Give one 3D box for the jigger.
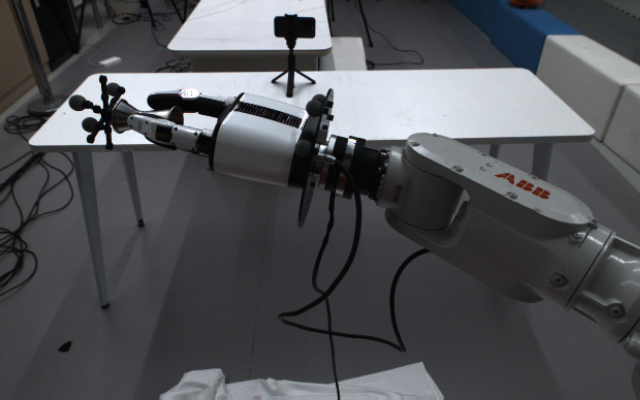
[{"bbox_3d":[-0.194,-0.097,0.564,0.071,0.043,0.043,8,35,5],"label":"jigger"}]
